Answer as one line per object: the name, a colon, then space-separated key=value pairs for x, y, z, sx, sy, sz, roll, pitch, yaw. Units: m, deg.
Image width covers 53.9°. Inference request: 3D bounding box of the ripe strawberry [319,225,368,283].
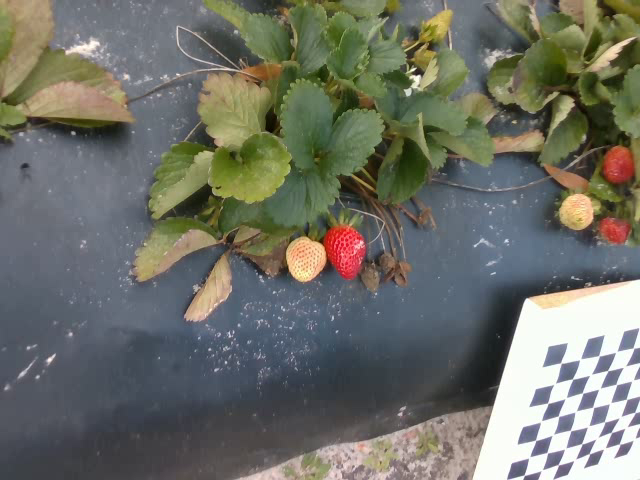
ripe strawberry: x=0.018 y=0.009 z=0.414 sx=0.034 sy=0.041 sz=0.033 roll=29 pitch=-49 yaw=-33
